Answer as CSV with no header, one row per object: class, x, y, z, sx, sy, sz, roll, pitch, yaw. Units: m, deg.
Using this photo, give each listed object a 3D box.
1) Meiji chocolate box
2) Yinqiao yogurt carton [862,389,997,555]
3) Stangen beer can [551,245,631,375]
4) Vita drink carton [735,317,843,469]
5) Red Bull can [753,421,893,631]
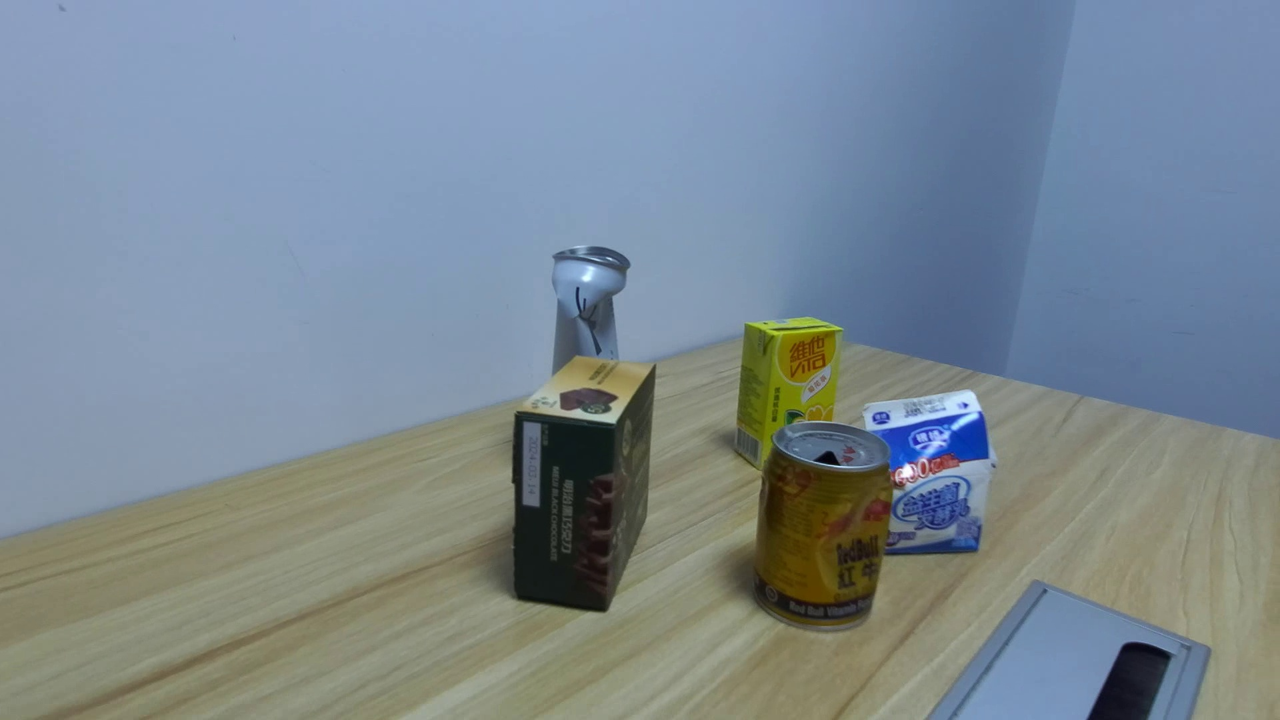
Meiji chocolate box,-0.028,0.065,0.408,0.056,0.109,0.110,6,17,11
Yinqiao yogurt carton,0.177,0.064,0.454,0.083,0.093,0.077,0,17,-6
Stangen beer can,-0.037,0.001,0.521,0.066,0.162,0.076,-6,17,-26
Vita drink carton,0.114,0.024,0.550,0.067,0.109,0.043,-5,19,-26
Red Bull can,0.096,0.086,0.376,0.069,0.092,0.069,2,17,0
